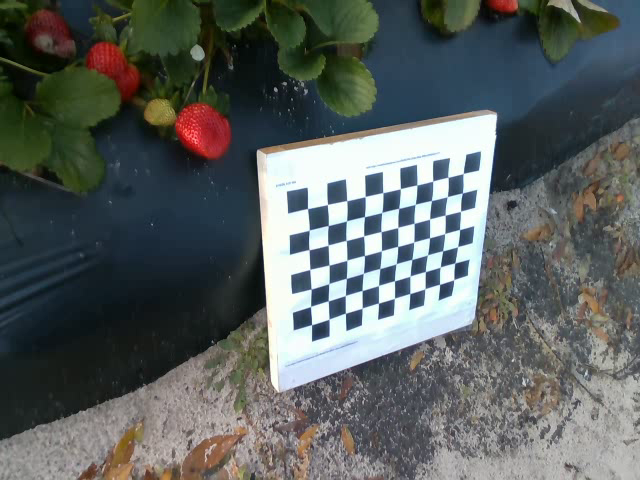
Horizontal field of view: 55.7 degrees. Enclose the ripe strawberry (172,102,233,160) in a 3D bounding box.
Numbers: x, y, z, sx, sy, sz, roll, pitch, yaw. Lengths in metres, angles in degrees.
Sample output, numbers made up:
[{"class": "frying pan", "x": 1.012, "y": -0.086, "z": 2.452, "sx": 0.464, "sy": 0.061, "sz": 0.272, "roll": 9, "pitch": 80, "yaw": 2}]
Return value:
[{"class": "ripe strawberry", "x": -0.035, "y": -0.038, "z": 0.241, "sx": 0.022, "sy": 0.025, "sz": 0.030, "roll": -20, "pitch": 42, "yaw": -6}]
